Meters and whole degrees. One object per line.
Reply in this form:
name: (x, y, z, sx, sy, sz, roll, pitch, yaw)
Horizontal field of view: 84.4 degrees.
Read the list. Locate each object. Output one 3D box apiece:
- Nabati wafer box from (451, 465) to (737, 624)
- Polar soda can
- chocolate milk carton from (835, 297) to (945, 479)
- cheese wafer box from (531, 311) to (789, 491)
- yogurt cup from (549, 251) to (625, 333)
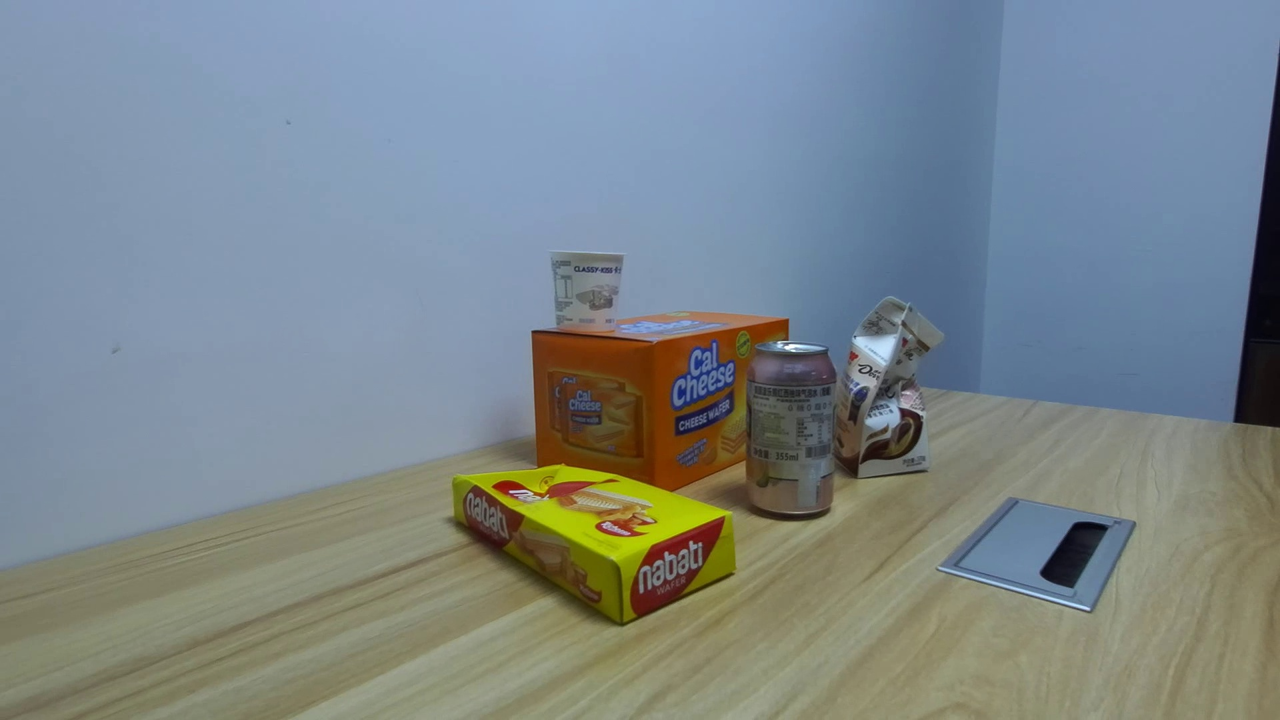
Nabati wafer box: (-0.040, 0.105, 0.469, 0.097, 0.042, 0.202, -10, 12, -38)
Polar soda can: (0.113, 0.051, 0.529, 0.067, 0.125, 0.067, -1, 7, 0)
chocolate milk carton: (0.220, 0.025, 0.626, 0.089, 0.155, 0.076, 11, 8, -20)
cheese wafer box: (0.027, 0.029, 0.673, 0.147, 0.129, 0.223, 7, 11, 39)
yogurt cup: (-0.047, -0.061, 0.628, 0.072, 0.068, 0.072, 1, 8, 0)
